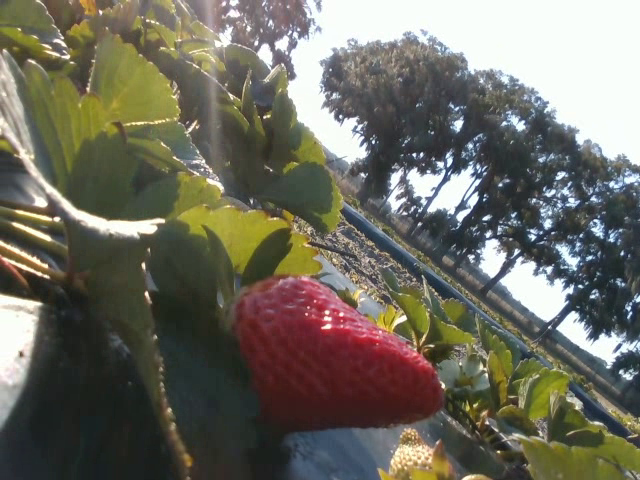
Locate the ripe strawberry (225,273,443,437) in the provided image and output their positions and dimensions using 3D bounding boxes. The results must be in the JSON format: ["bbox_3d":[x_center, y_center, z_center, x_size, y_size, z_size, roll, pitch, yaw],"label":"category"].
[{"bbox_3d":[0.005,0.033,0.169,0.072,0.055,0.057,19,46,17],"label":"ripe strawberry"}]
